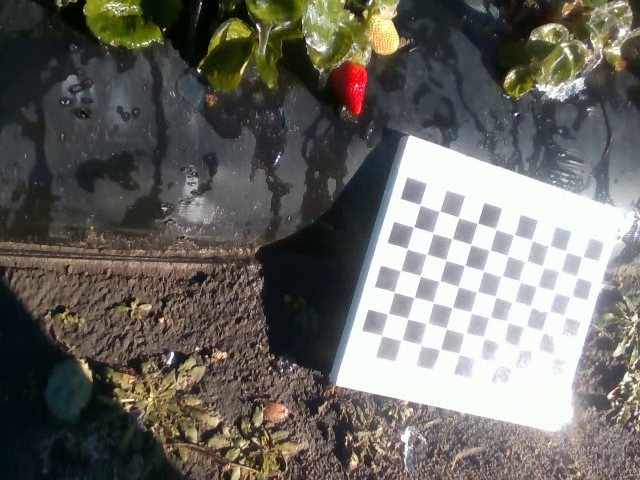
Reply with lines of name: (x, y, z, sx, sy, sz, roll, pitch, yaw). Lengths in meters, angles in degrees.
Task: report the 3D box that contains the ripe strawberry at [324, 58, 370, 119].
ripe strawberry: (0.034, -0.149, 0.588, 0.042, 0.052, 0.040, -3, -1, -19)
